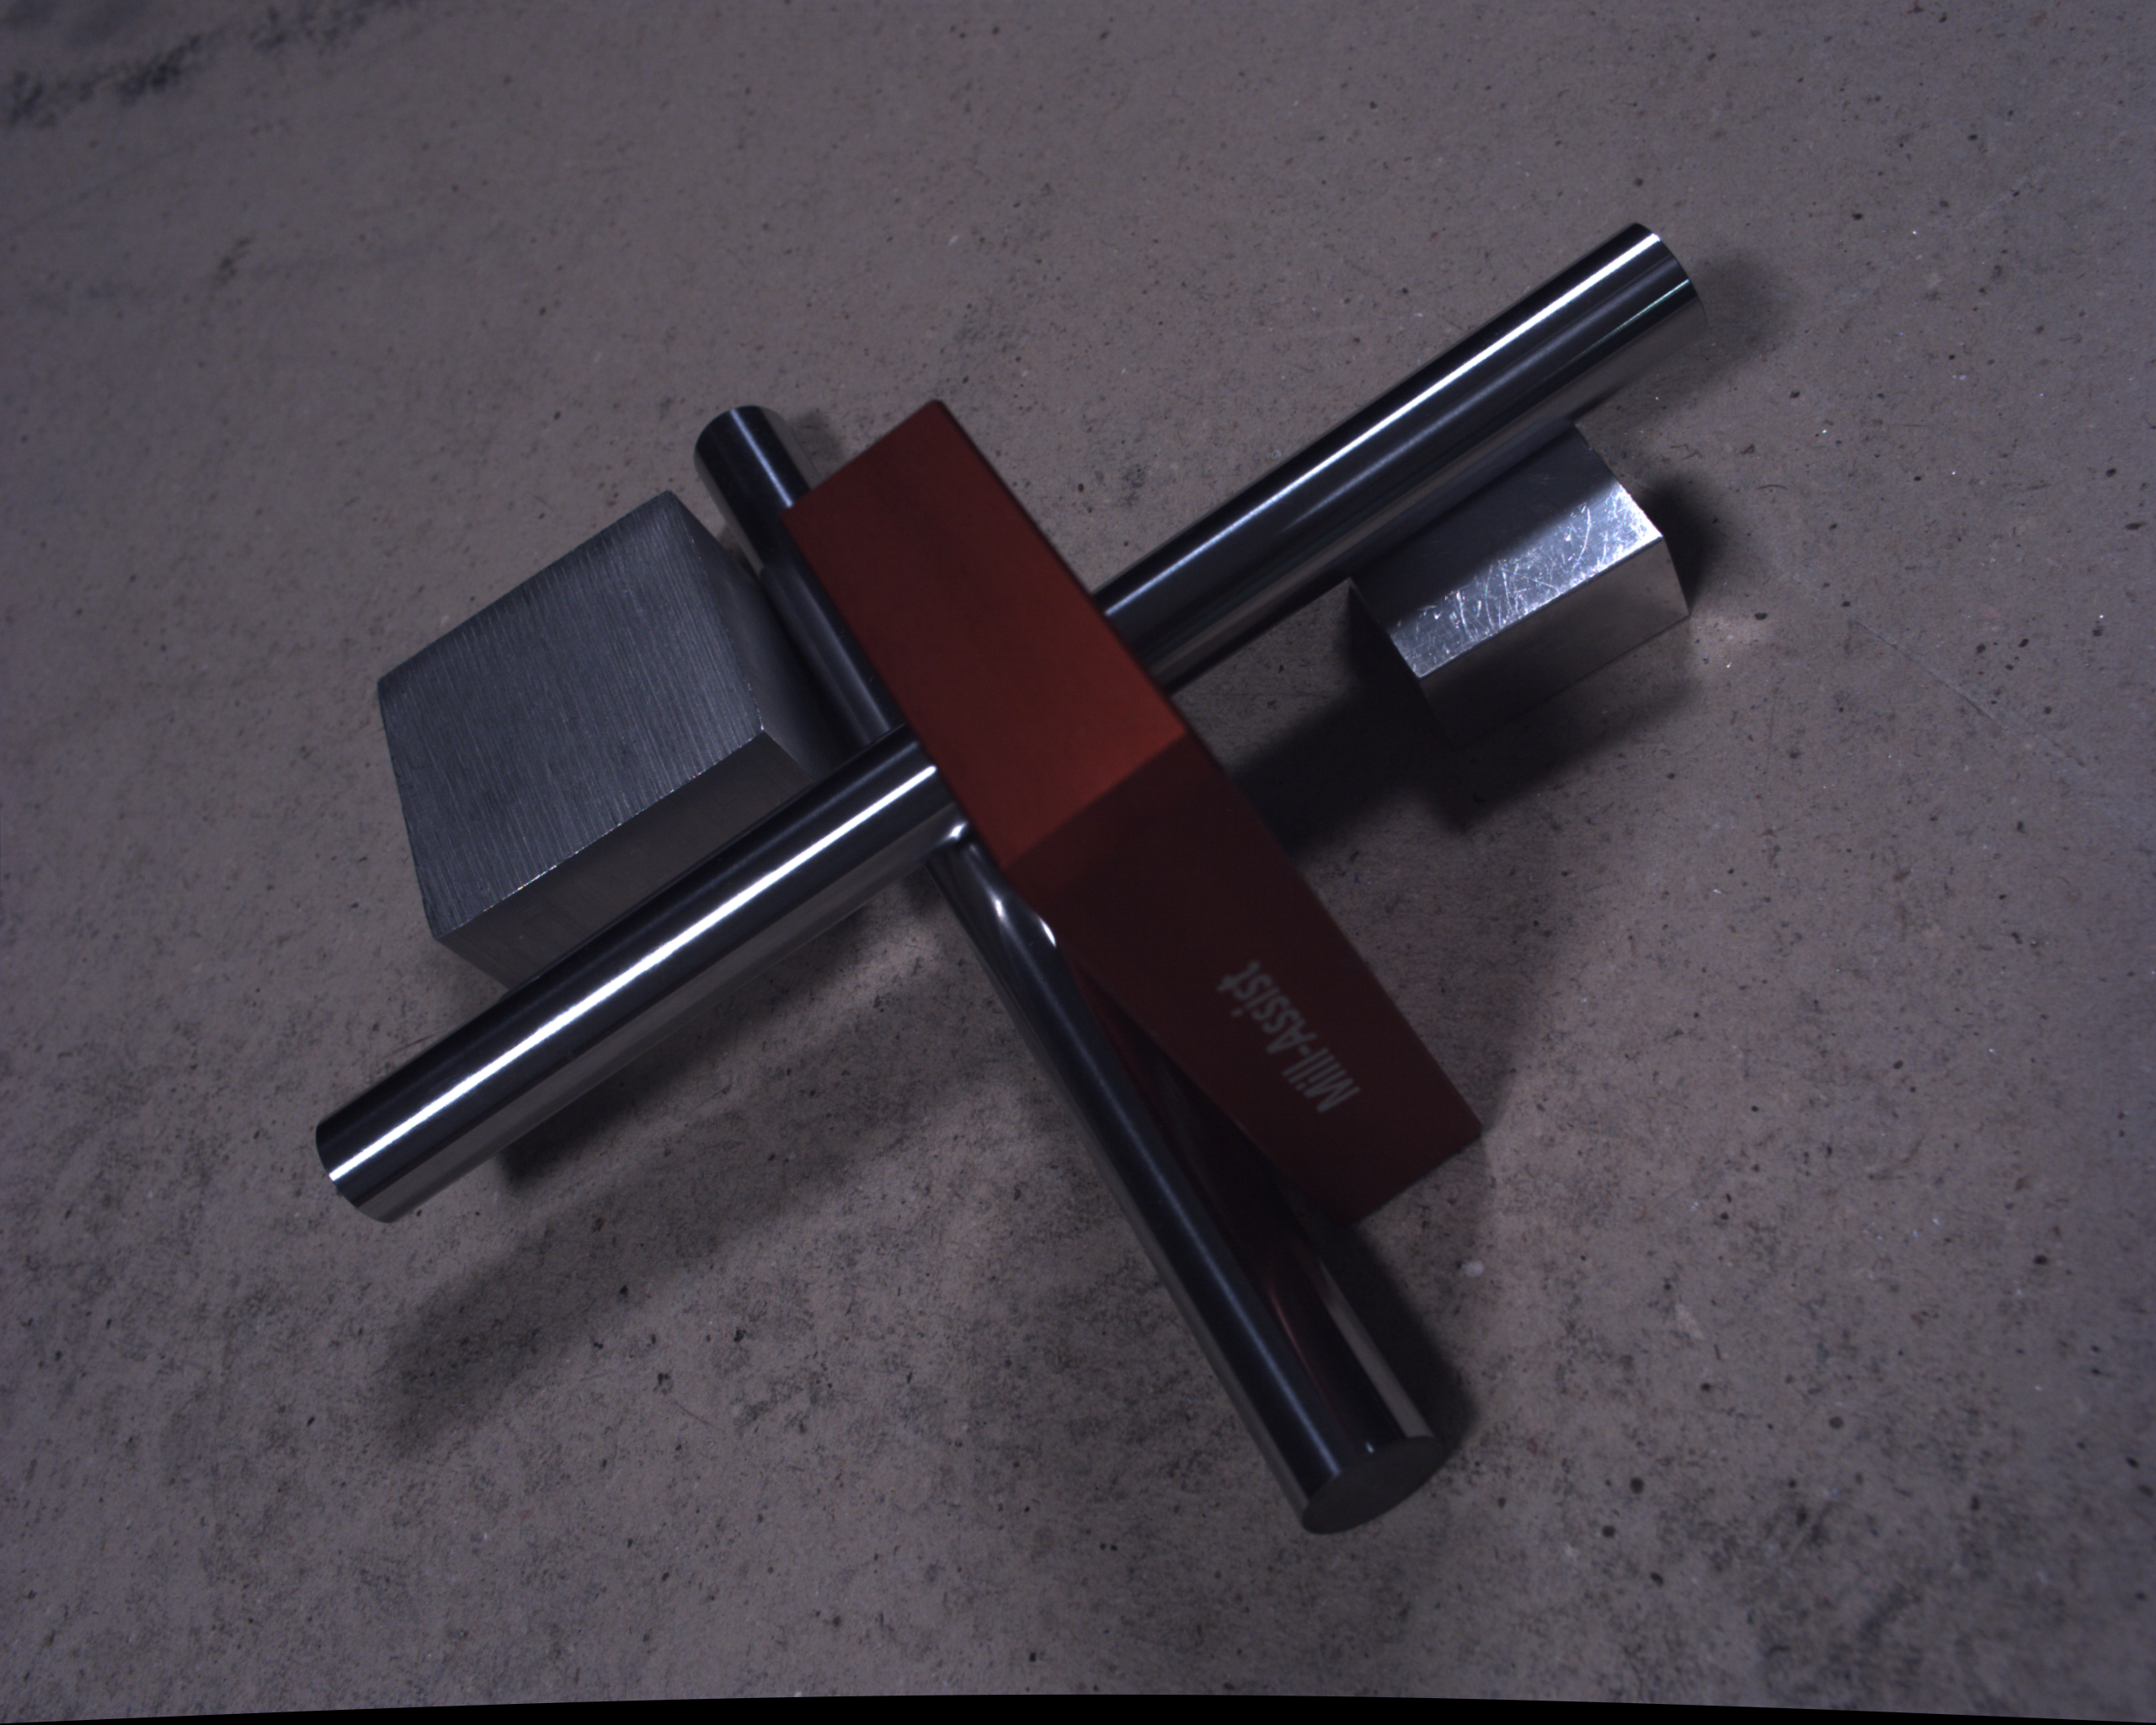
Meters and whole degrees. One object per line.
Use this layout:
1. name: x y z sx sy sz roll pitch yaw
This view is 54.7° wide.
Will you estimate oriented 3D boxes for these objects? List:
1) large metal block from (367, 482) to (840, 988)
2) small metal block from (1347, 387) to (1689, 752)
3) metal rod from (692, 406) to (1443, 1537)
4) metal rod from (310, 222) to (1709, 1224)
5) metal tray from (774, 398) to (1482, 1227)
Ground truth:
1. large metal block: -0.099 -0.022 0.451 0.080 0.050 0.080 -32 52 7
2. small metal block: 0.079 -0.057 0.398 0.050 0.025 0.050 -31 52 8
3. metal rod: -0.018 -0.002 0.415 0.025 0.025 0.300 -36 51 4
4. metal rod: -0.017 -0.023 0.394 0.300 0.025 0.025 -34 52 5
5. metal tray: 0.011 -0.004 0.332 0.030 0.130 0.090 -37 51 4
